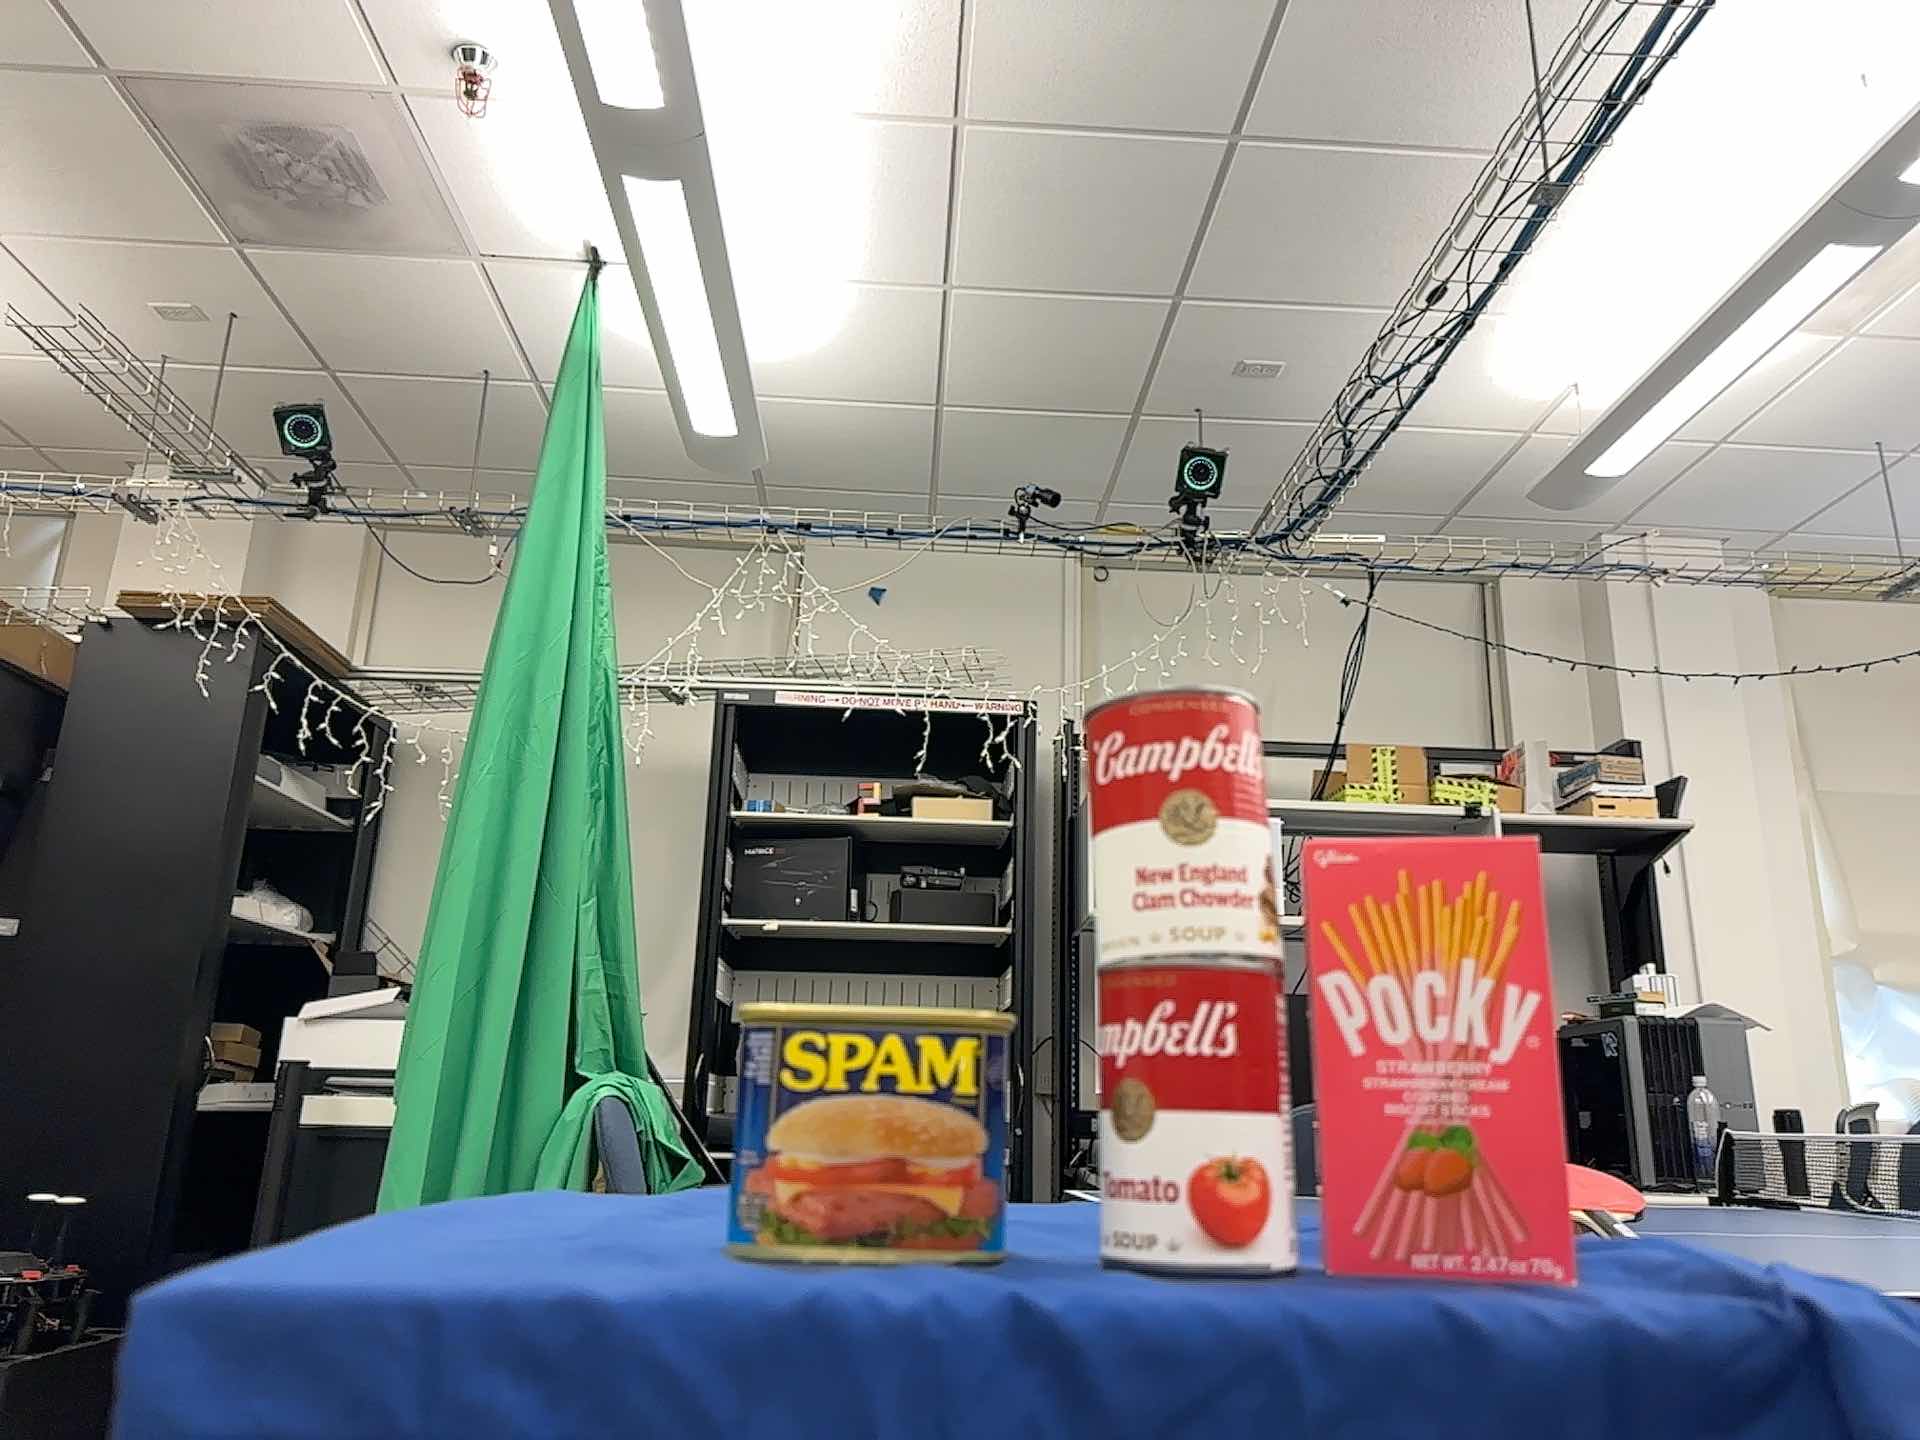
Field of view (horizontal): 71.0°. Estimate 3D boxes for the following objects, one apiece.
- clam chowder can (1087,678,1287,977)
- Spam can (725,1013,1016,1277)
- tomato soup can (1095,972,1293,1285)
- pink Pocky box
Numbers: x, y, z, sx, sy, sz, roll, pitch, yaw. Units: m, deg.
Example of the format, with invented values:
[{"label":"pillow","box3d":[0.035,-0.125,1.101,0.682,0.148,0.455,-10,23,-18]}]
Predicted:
[{"label":"clam chowder can","box3d":[0.083,0.043,0.501,0.068,0.102,0.068,-1,-18,0]},{"label":"Spam can","box3d":[-0.033,0.152,0.487,0.100,0.083,0.056,3,-15,-3]},{"label":"tomato soup can","box3d":[0.082,0.144,0.481,0.067,0.102,0.067,1,-16,0]},{"label":"pink Pocky box","box3d":[0.164,0.119,0.470,0.084,0.154,0.029,-2,-13,9]}]
